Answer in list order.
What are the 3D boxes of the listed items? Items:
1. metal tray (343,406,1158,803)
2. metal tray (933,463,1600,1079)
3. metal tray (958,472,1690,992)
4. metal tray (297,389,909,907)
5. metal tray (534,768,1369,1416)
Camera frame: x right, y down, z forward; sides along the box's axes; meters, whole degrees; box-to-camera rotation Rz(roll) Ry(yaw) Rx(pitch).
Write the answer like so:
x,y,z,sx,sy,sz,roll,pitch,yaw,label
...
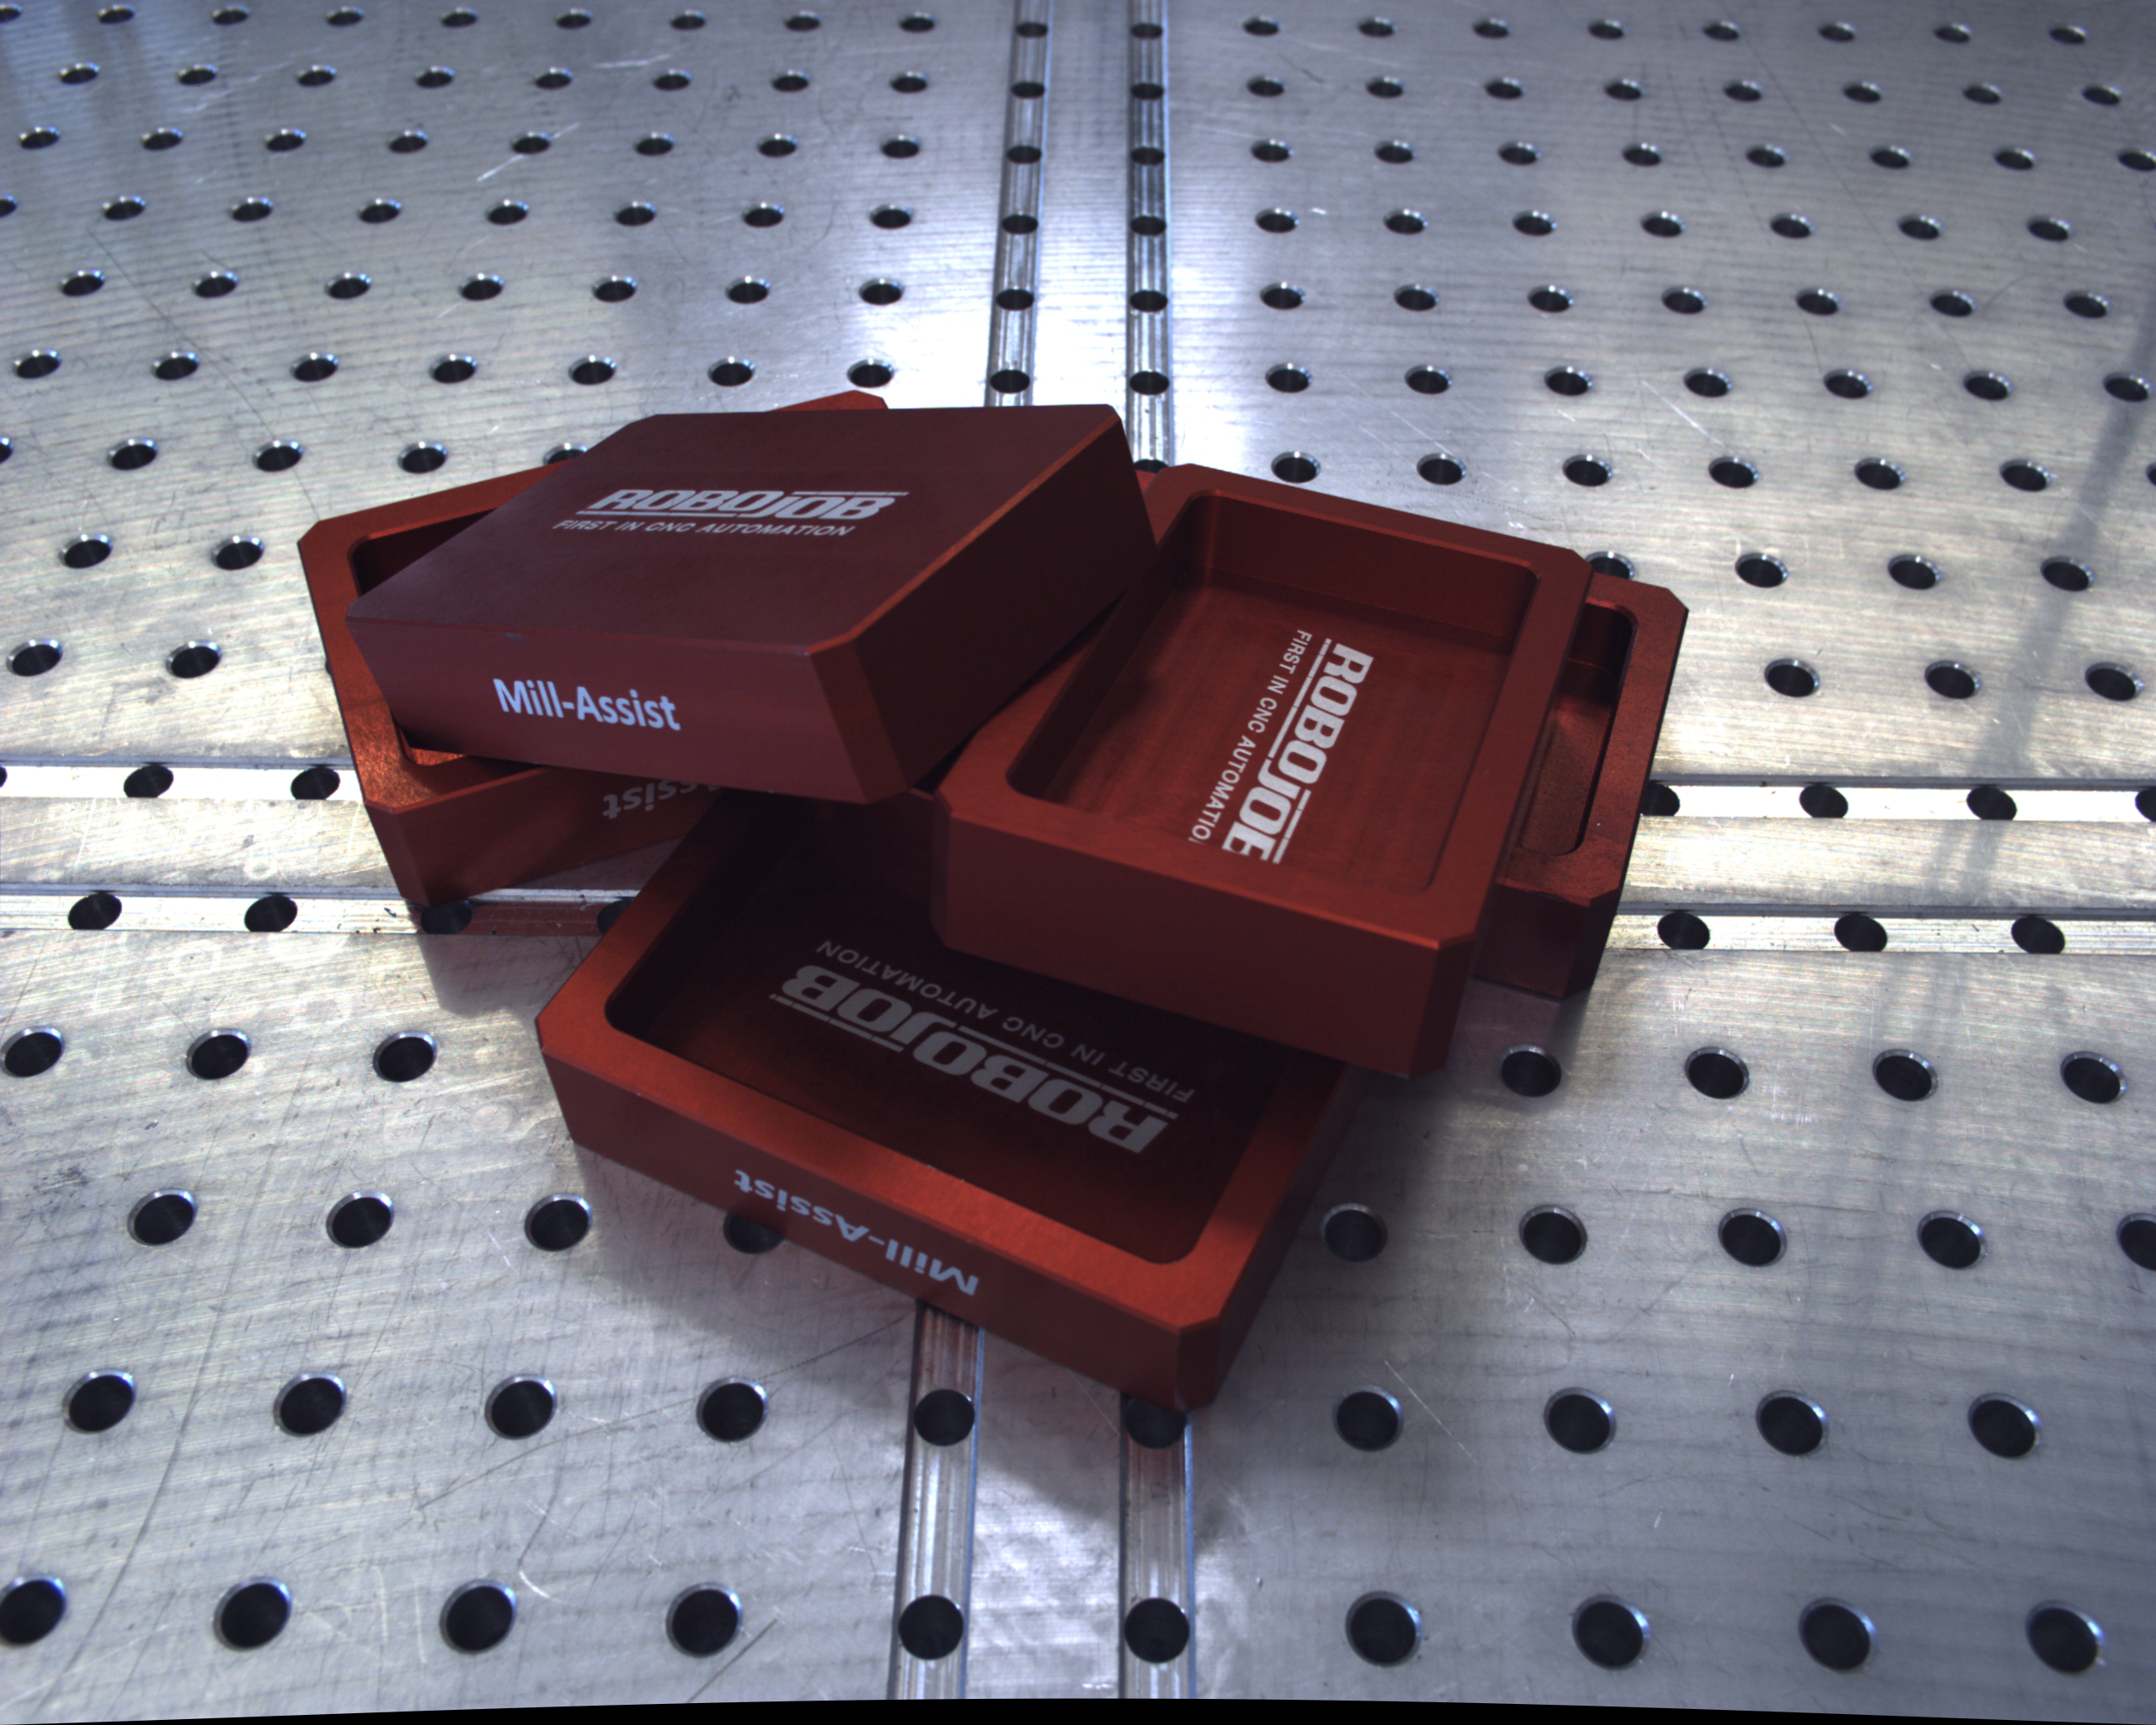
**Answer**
x,y,z,sx,sy,sz,roll,pitch,yaw,label
-0.063,-0.053,0.396,0.130,0.030,0.090,8,39,35,metal tray
0.039,-0.024,0.384,0.090,0.030,0.130,15,40,13,metal tray
0.051,-0.031,0.430,0.130,0.030,0.090,14,51,13,metal tray
-0.090,-0.050,0.445,0.131,0.030,0.090,-18,52,-14,metal tray
-0.018,0.032,0.378,0.130,0.030,0.090,21,53,16,metal tray
